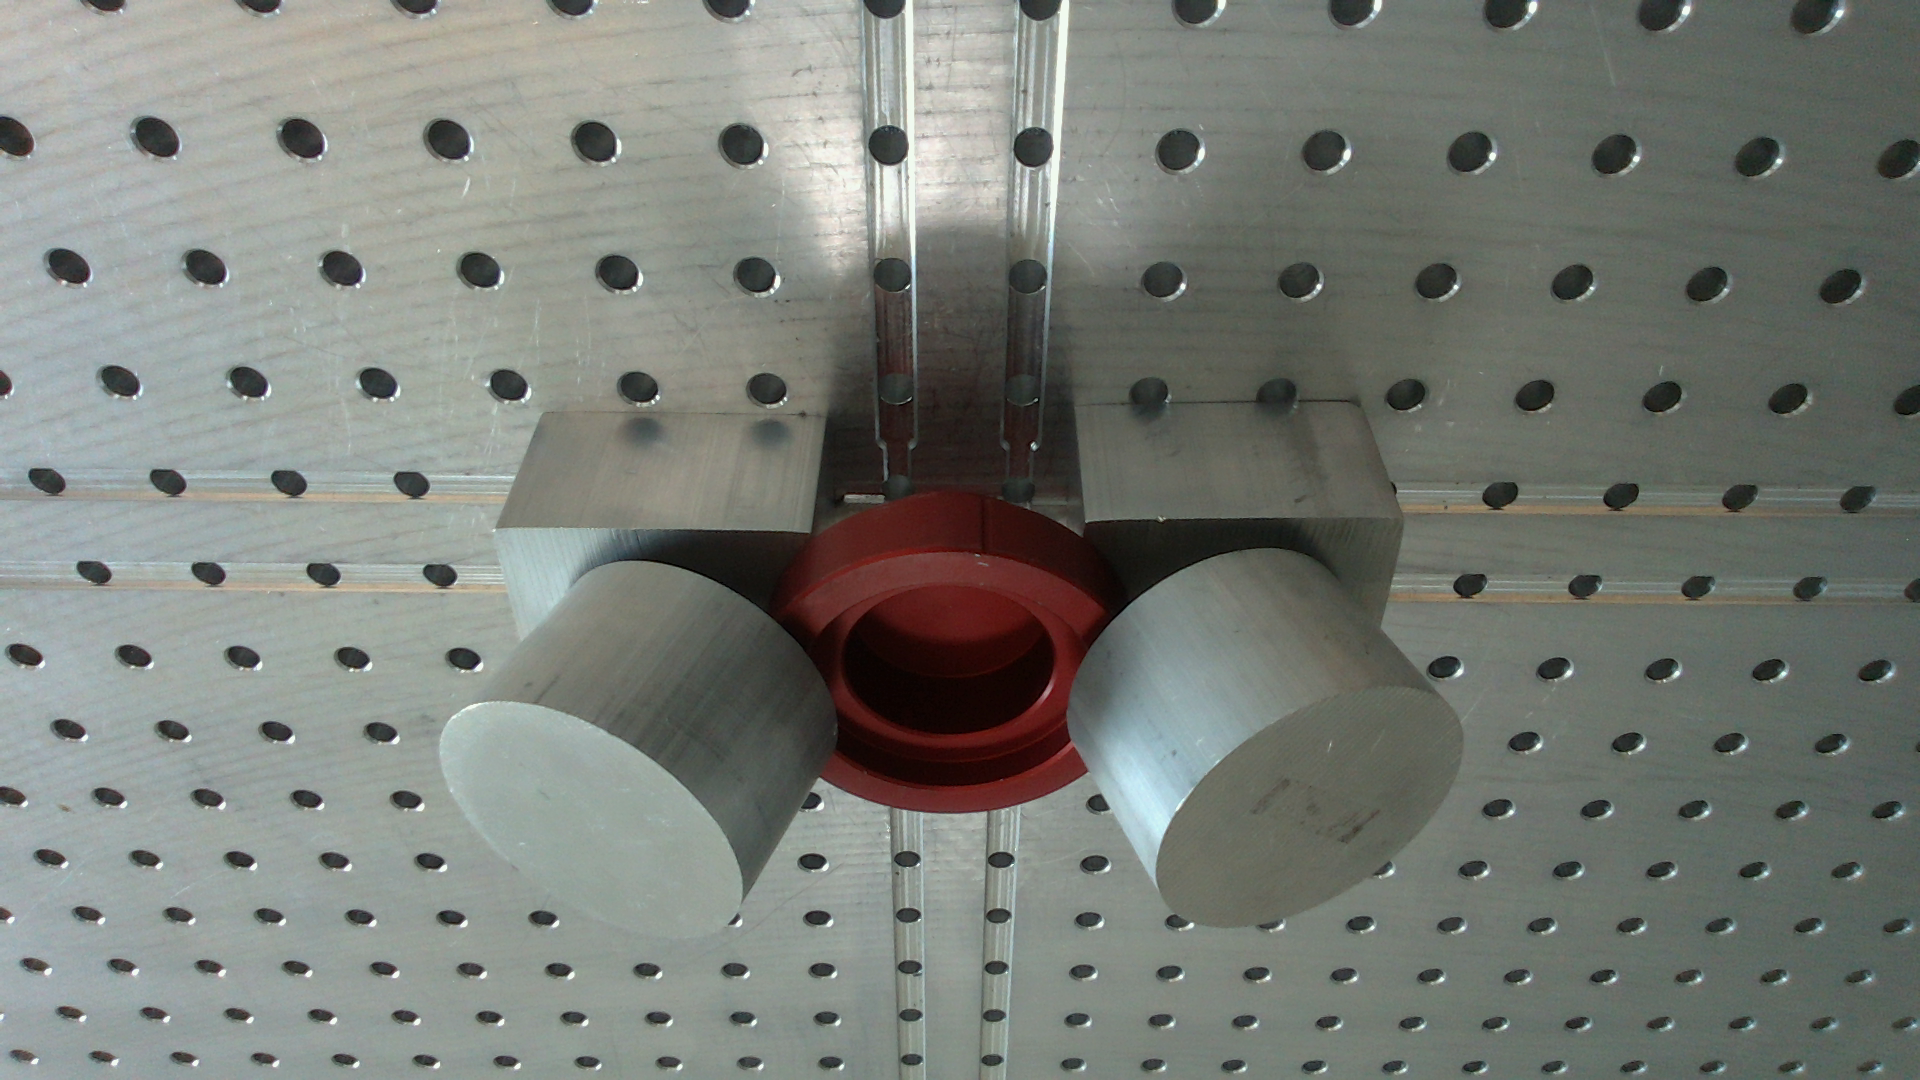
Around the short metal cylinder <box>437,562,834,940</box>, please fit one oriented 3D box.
[{"bbox_3d":[-0.078,0.052,0.338,0.080,0.050,0.080,14,133,16],"label":"short metal cylinder"}]

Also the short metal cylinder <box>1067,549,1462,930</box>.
[{"bbox_3d":[0.073,0.049,0.337,0.080,0.050,0.080,-13,131,-15],"label":"short metal cylinder"}]

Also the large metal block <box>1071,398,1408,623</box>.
[{"bbox_3d":[0.071,0.008,0.384,0.080,0.050,0.080,-1,130,0],"label":"large metal block"}]

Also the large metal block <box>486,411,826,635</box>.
[{"bbox_3d":[-0.078,0.011,0.386,0.080,0.050,0.080,0,130,-1],"label":"large metal block"}]

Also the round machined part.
[{"bbox_3d":[-0.003,0.026,0.366,0.098,0.042,0.098,0,130,0],"label":"round machined part"}]
